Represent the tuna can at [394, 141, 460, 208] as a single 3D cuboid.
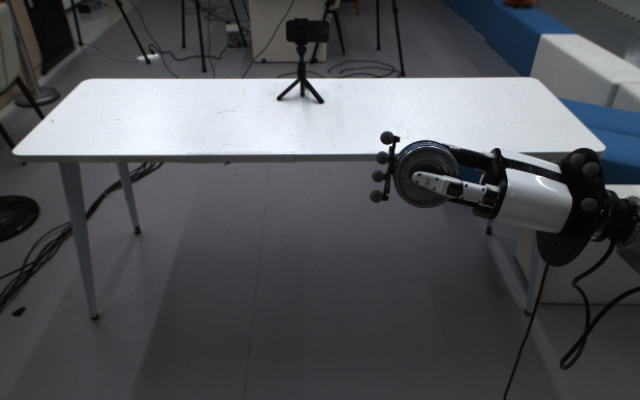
[{"bbox_3d":[0.140,-0.037,0.636,0.085,0.085,0.034,4,17,3],"label":"tuna can"}]
